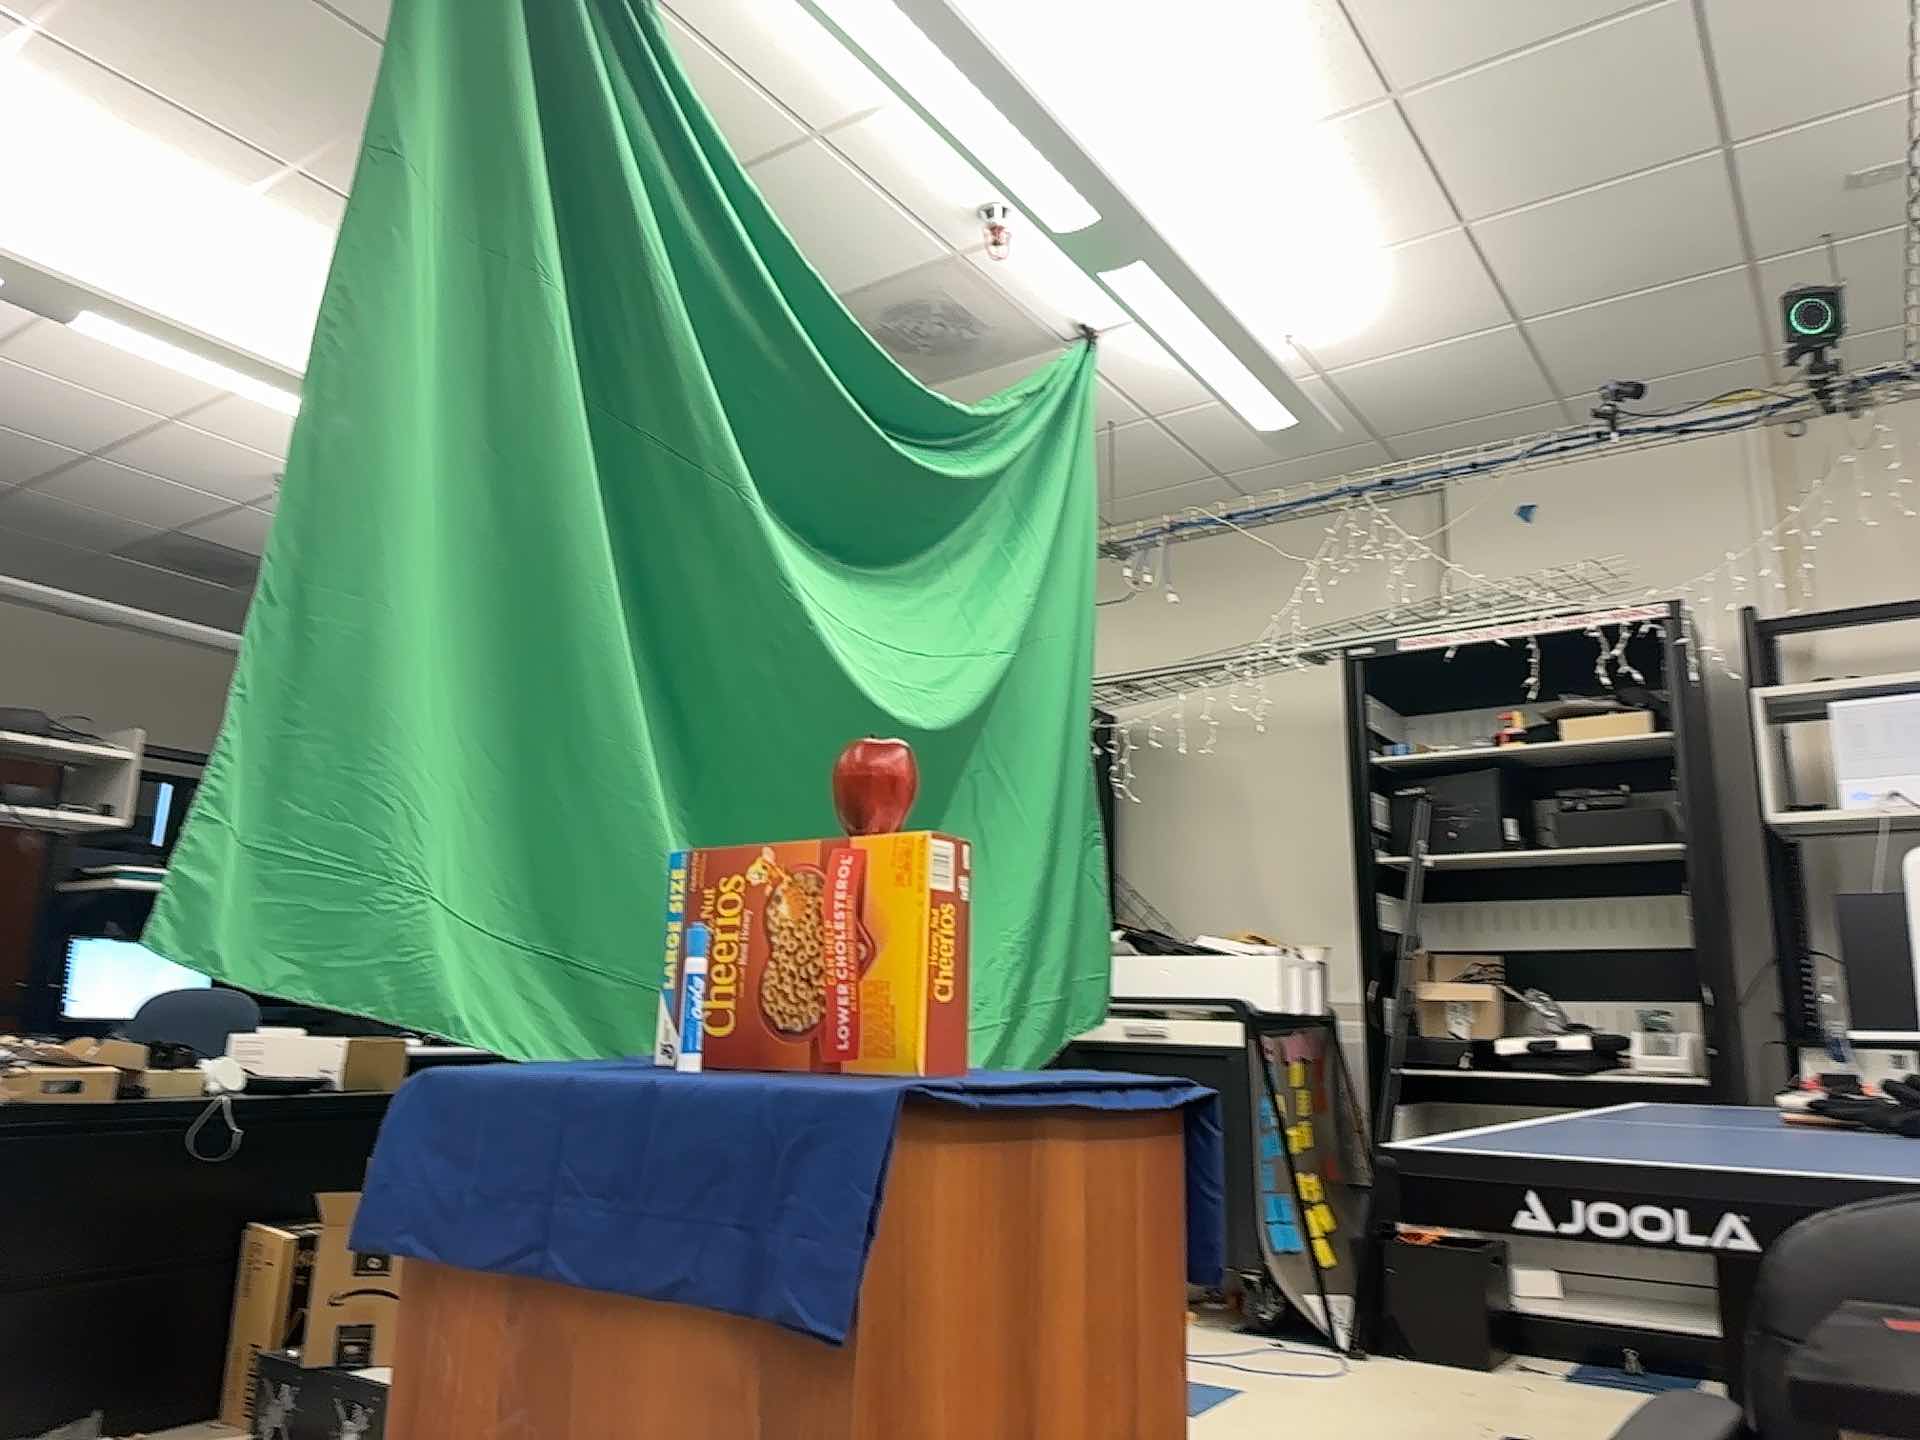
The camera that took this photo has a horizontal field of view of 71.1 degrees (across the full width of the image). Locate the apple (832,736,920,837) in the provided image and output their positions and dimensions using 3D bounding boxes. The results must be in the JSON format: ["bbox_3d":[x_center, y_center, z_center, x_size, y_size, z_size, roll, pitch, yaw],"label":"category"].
[{"bbox_3d":[-0.075,0.061,1.186,0.079,0.093,0.079,4,-12,1],"label":"apple"}]

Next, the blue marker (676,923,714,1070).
[{"bbox_3d":[-0.223,0.231,1.130,0.020,0.121,0.020,3,-15,1],"label":"blue marker"}]

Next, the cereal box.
[{"bbox_3d":[-0.137,0.209,1.189,0.297,0.195,0.065,-5,-17,34],"label":"cereal box"}]
